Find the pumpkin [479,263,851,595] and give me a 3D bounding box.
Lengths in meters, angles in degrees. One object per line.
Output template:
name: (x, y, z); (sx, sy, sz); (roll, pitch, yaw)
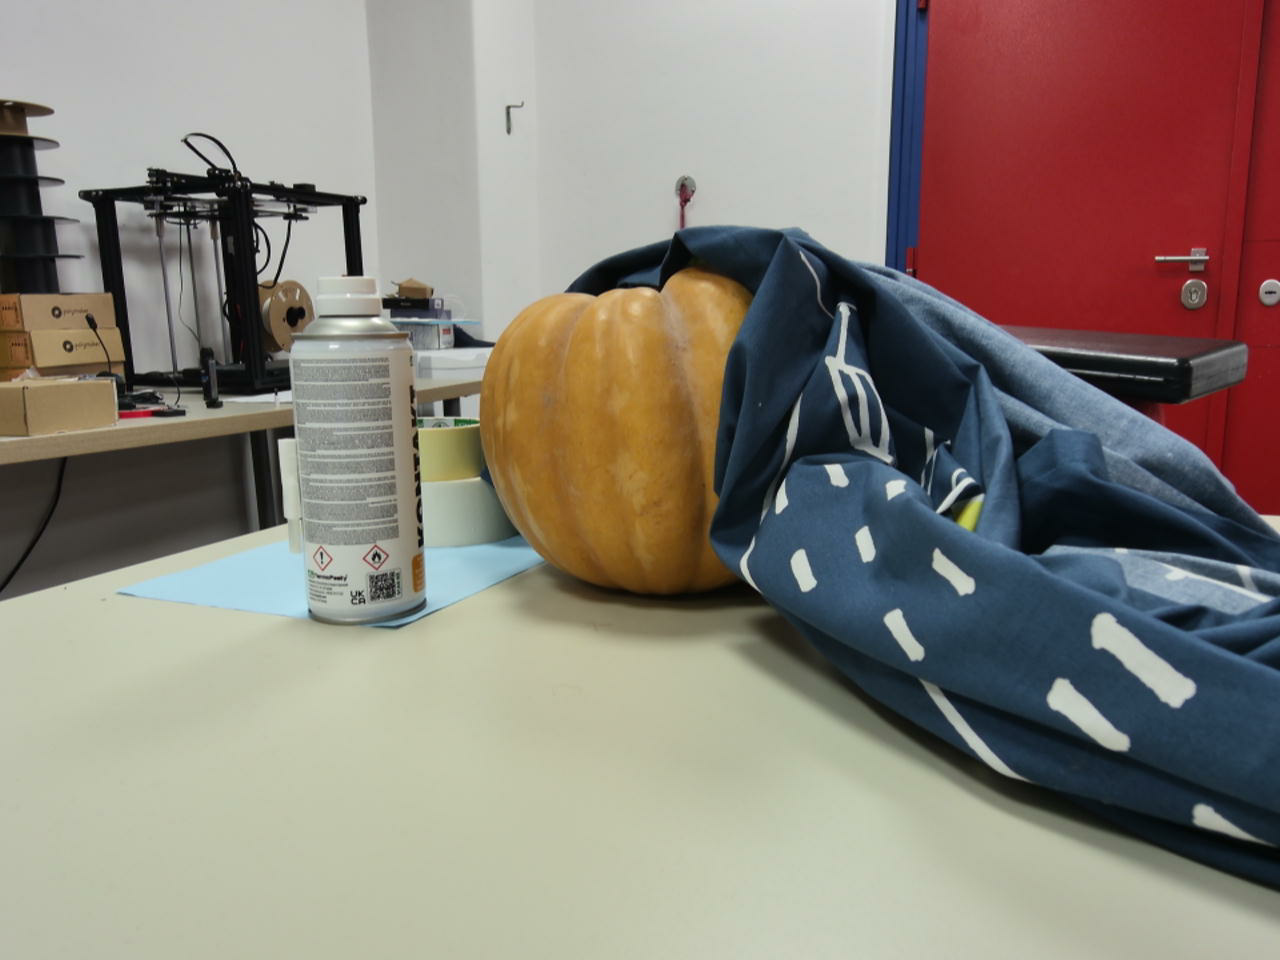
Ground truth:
pumpkin: (0.017, -0.031, 0.611); (0.230, 0.194, 0.230); (0, 7, 0)
